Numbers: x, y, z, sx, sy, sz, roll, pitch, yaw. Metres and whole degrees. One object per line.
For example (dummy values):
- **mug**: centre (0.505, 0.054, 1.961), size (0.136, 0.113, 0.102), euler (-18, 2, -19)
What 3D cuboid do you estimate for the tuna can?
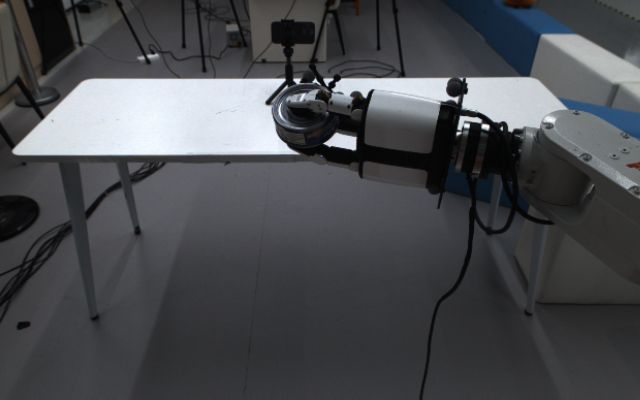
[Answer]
- **tuna can**: centre (-0.018, -0.113, 0.632), size (0.085, 0.034, 0.085), euler (-4, 58, 6)
